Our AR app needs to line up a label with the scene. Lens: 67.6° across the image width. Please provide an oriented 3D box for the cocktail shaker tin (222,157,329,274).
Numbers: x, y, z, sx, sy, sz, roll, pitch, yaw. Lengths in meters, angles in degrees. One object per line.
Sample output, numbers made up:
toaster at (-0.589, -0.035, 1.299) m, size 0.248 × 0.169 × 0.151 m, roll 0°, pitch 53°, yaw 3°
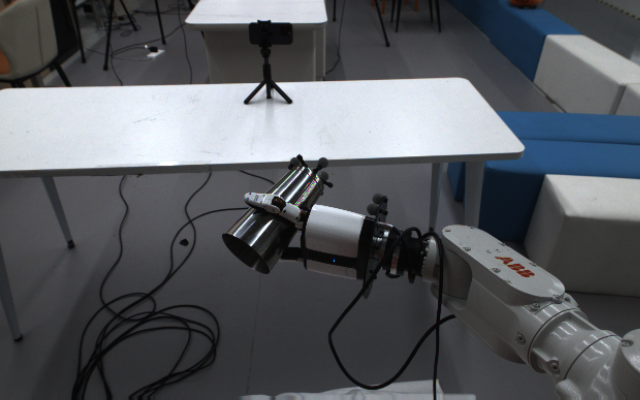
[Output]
cocktail shaker tin at (-0.068, 0.019, 0.775) m, size 0.093 × 0.093 × 0.170 m, roll 23°, pitch 57°, yaw 27°
